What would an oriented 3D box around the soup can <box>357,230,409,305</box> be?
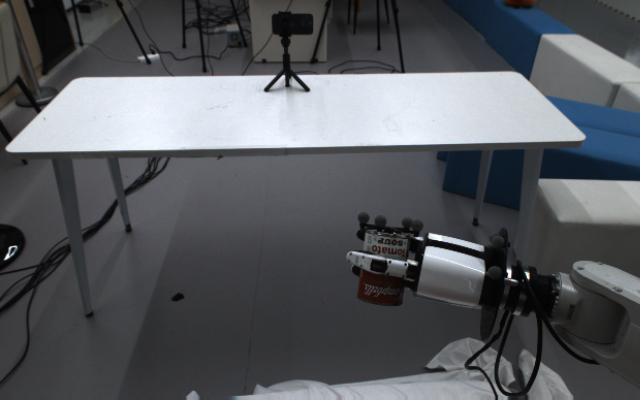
[{"bbox_3d":[0.095,0.096,0.707,0.067,0.101,0.067,7,3,0],"label":"soup can"}]
